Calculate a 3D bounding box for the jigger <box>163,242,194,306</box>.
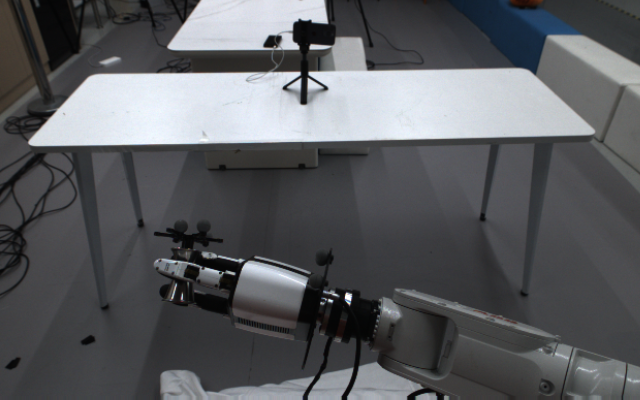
[{"bbox_3d":[-0.178,0.098,0.629,0.043,0.043,0.071,4,75,2],"label":"jigger"}]
